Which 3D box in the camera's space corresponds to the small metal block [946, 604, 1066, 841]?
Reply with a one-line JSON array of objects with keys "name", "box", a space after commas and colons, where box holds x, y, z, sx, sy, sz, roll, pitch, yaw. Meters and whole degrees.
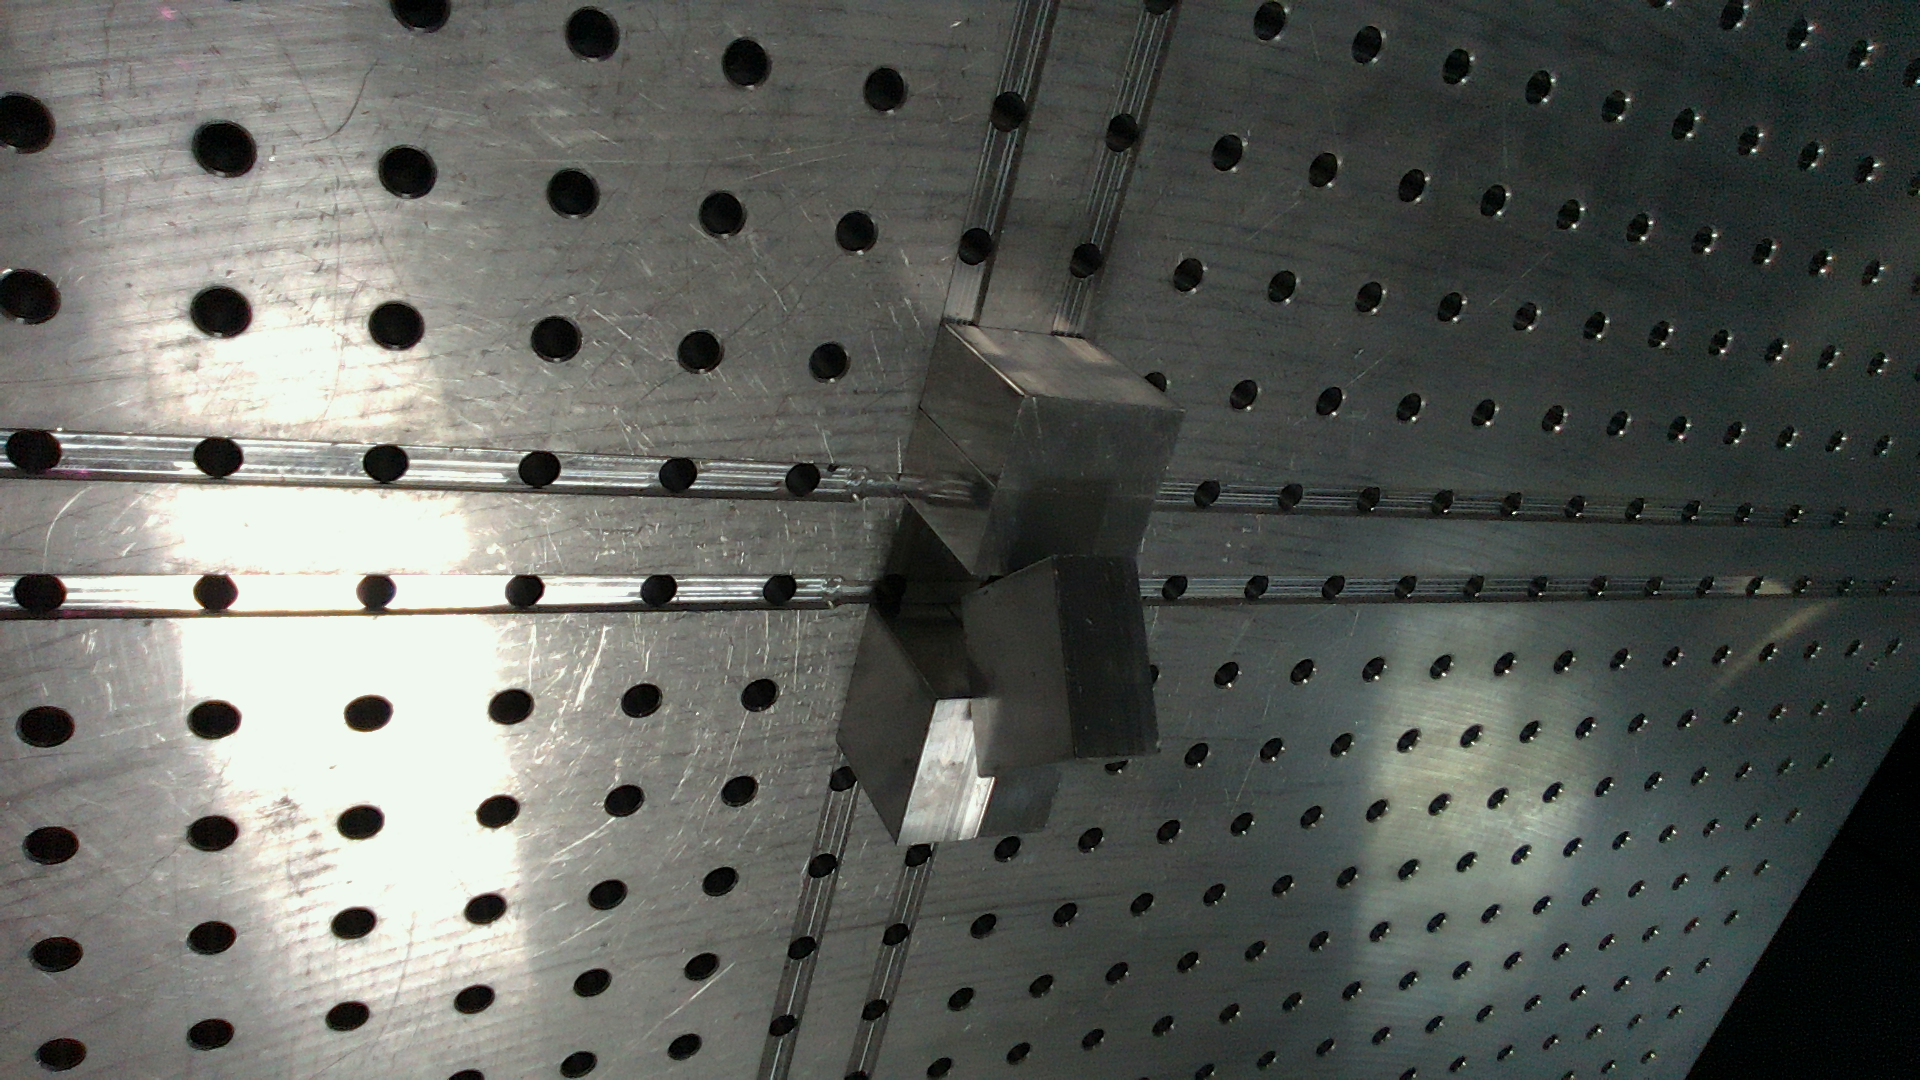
[{"name": "small metal block", "box": [0.011, 0.053, 0.413, 0.025, 0.050, 0.050, 1, 118, -29]}]

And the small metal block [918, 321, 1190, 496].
[{"name": "small metal block", "box": [0.024, -0.035, 0.367, 0.050, 0.050, 0.025, 2, 118, -29]}]

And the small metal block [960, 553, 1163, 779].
[{"name": "small metal block", "box": [0.025, 0.034, 0.357, 0.025, 0.050, 0.050, 1, 76, -28]}]

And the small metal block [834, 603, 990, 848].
[{"name": "small metal block", "box": [-0.012, 0.053, 0.402, 0.025, 0.050, 0.050, 1, 118, -29]}]

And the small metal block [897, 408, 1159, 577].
[{"name": "small metal block", "box": [0.017, -0.013, 0.377, 0.050, 0.050, 0.025, 2, 118, -29]}]
